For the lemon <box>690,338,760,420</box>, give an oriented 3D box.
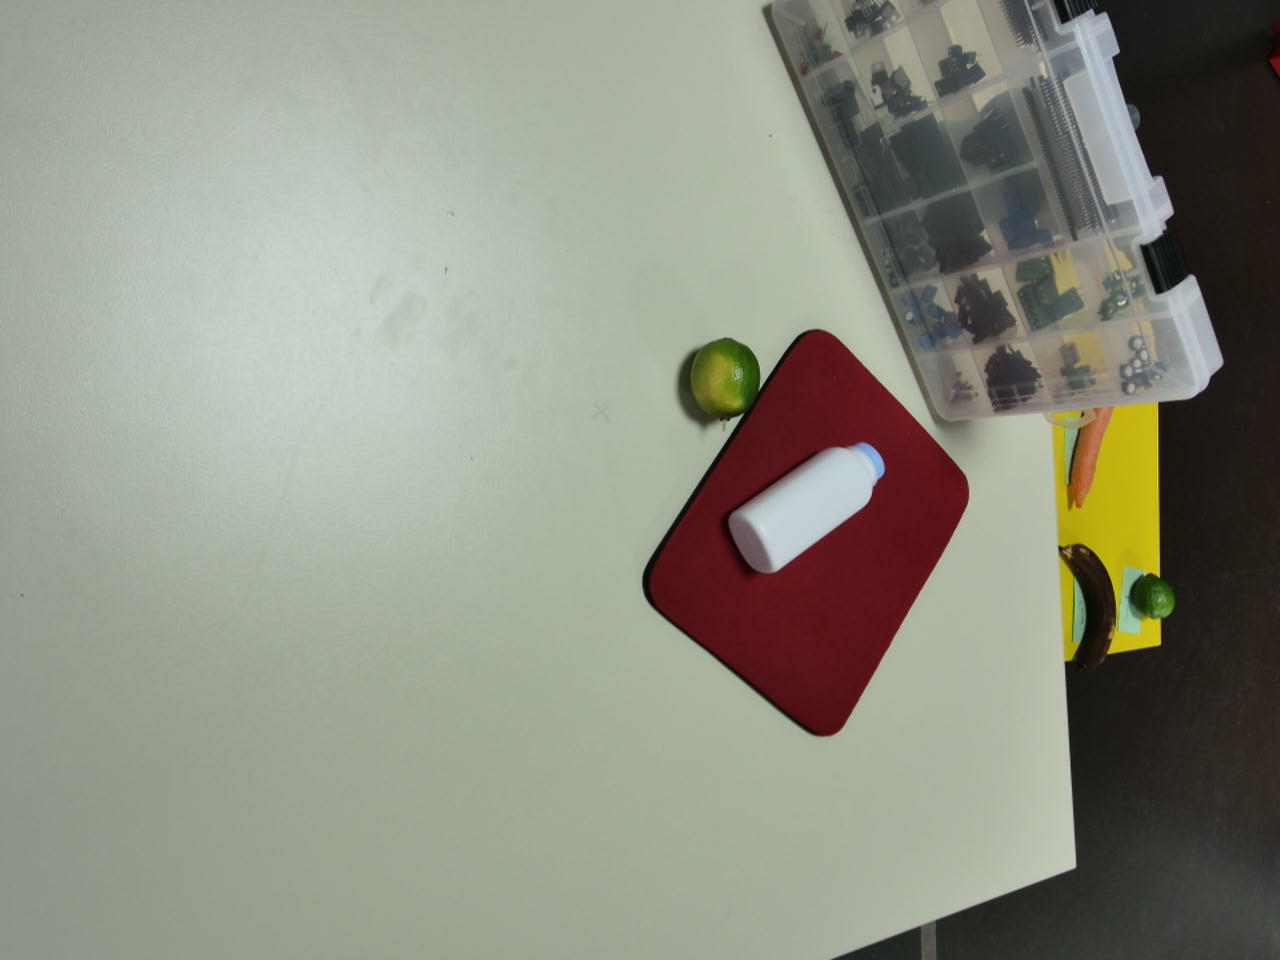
[{"bbox_3d":[0.062,-0.074,0.729,0.055,0.050,0.054,-48,111,-19],"label":"lemon"}]
